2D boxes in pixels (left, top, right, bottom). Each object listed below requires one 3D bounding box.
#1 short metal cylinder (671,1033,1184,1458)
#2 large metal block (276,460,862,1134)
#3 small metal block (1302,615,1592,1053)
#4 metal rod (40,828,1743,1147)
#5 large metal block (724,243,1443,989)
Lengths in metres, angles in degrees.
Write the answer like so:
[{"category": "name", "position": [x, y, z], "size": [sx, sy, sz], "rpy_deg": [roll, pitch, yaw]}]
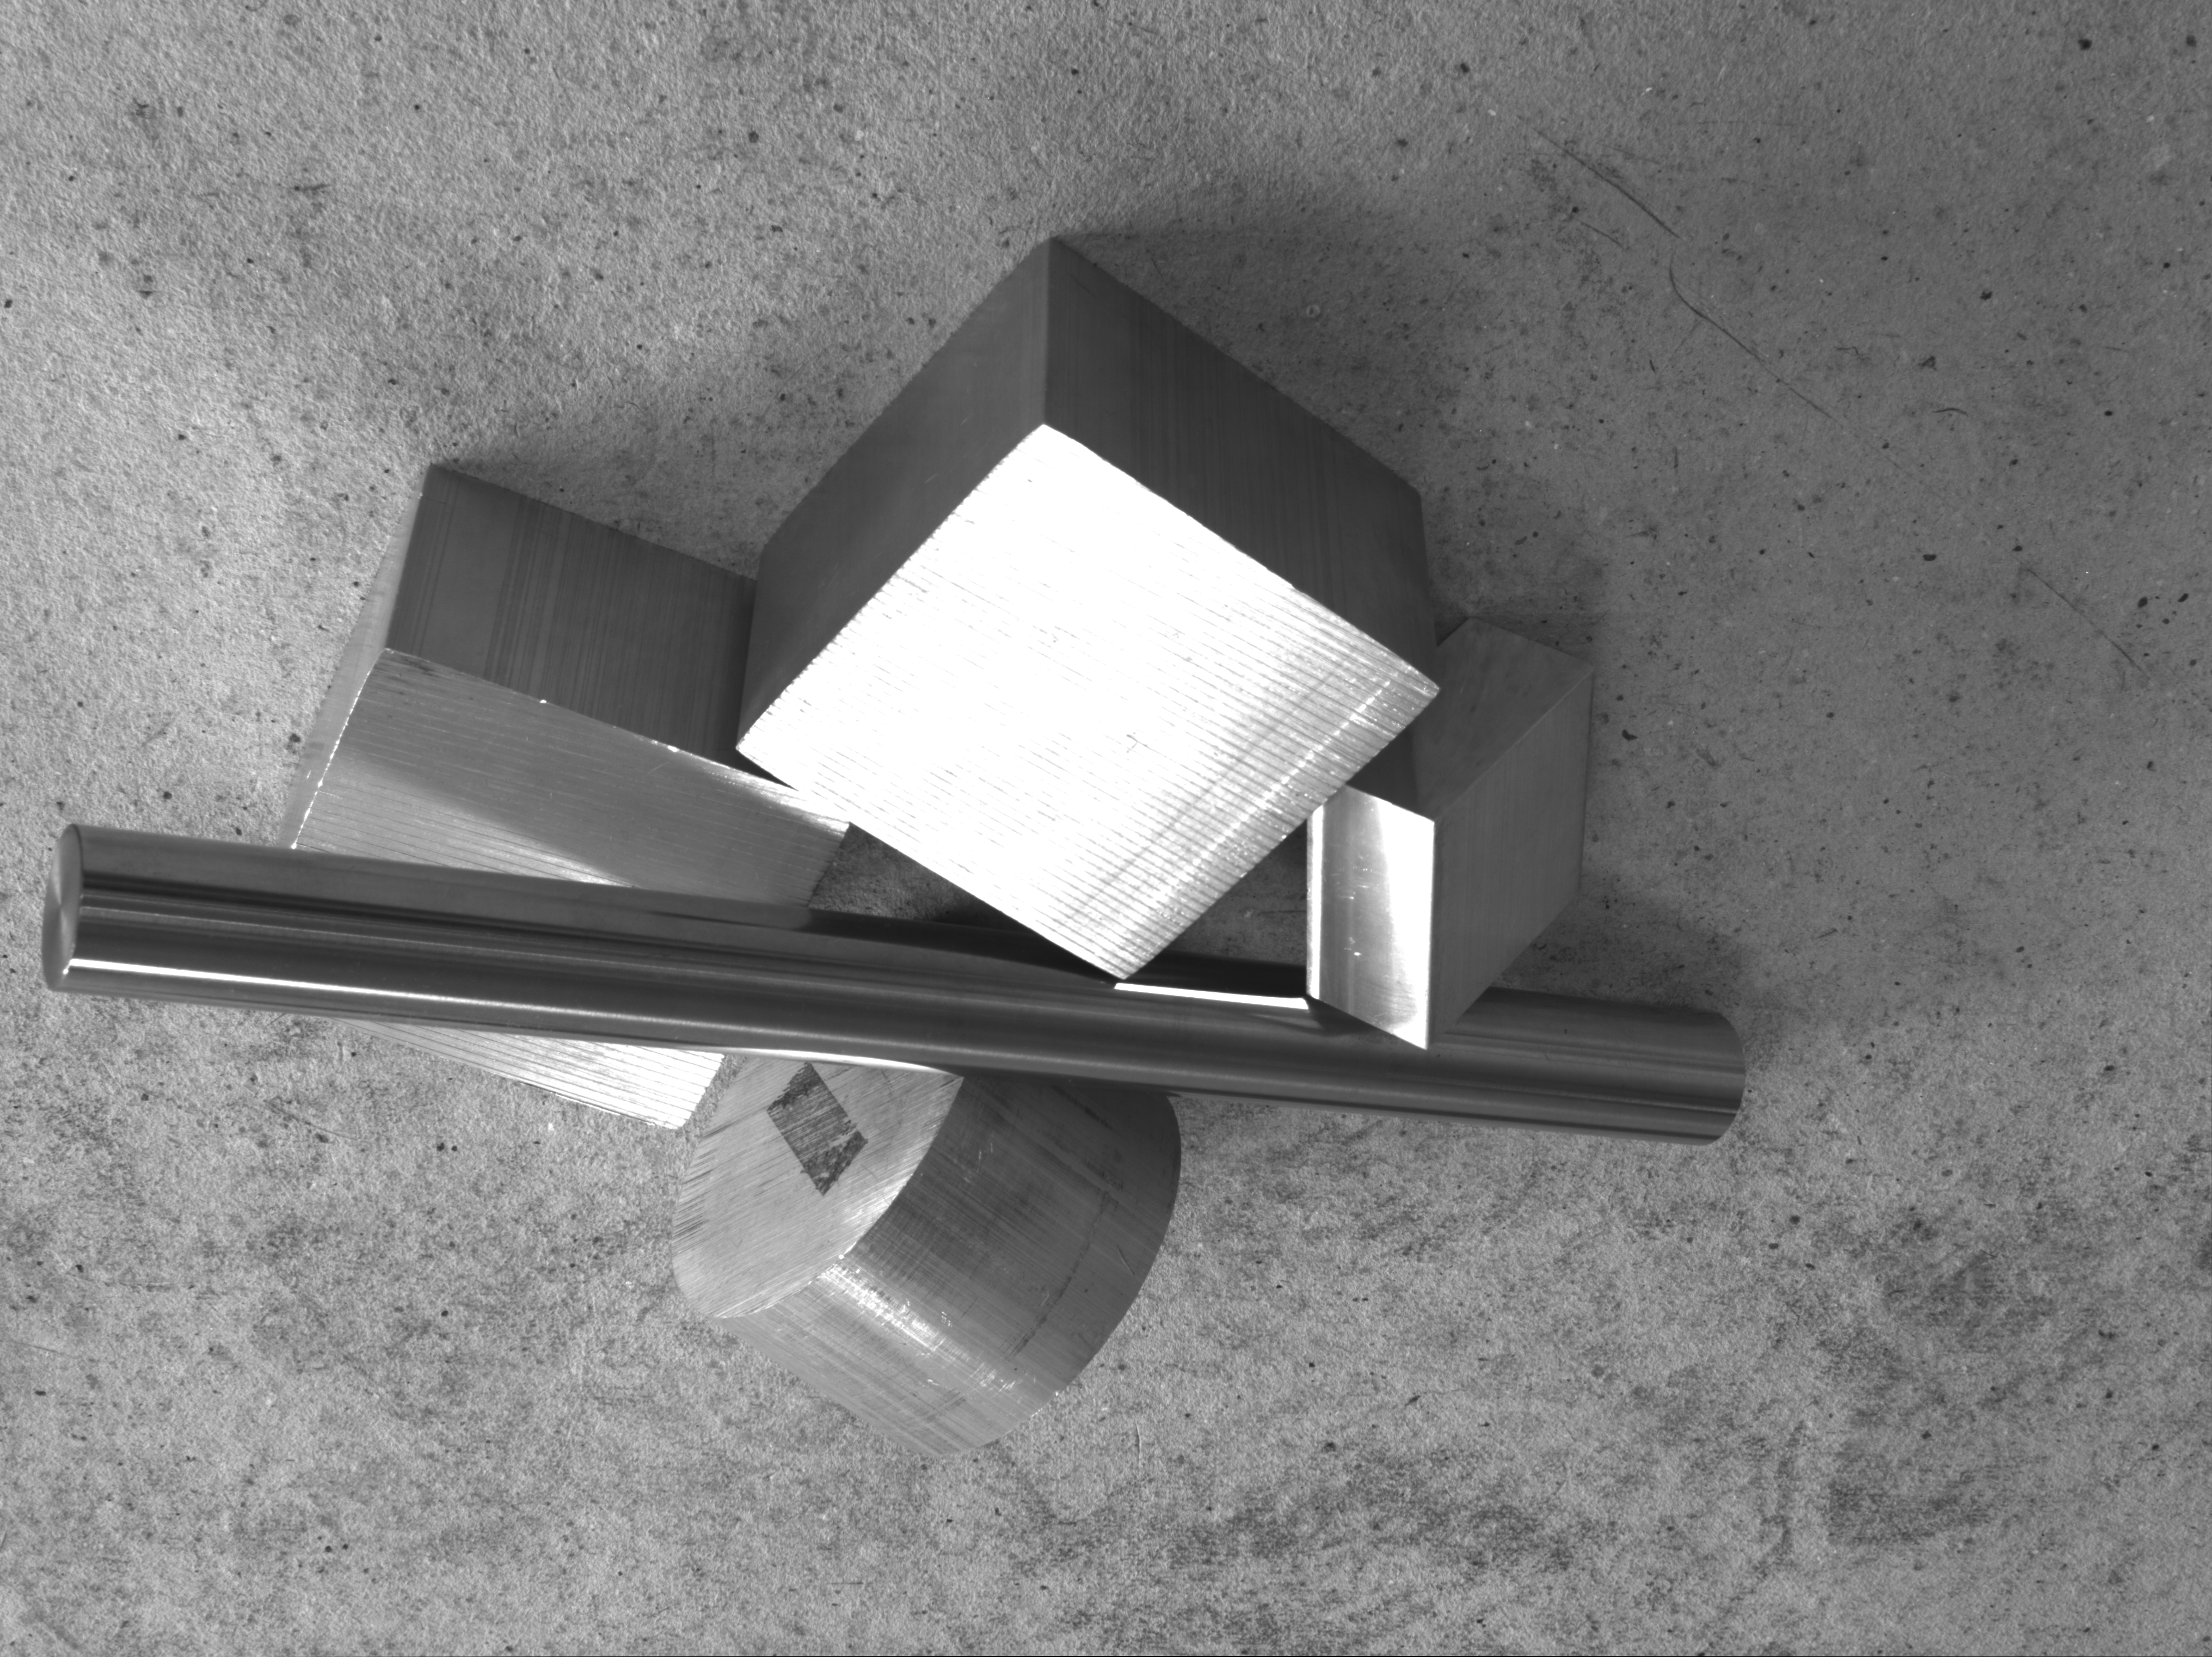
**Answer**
[{"category": "short metal cylinder", "position": [-0.032, 0.065, 0.658], "size": [0.080, 0.080, 0.050], "rpy_deg": [-37, 121, 27]}, {"category": "large metal block", "position": [-0.093, -0.004, 0.620], "size": [0.080, 0.050, 0.080], "rpy_deg": [19, 127, -16]}, {"category": "small metal block", "position": [0.058, 0.001, 0.621], "size": [0.025, 0.050, 0.050], "rpy_deg": [24, 137, 28]}, {"category": "metal rod", "position": [-0.022, 0.029, 0.611], "size": [0.301, 0.025, 0.025], "rpy_deg": [7, 132, -28]}, {"category": "large metal block", "position": [-0.004, -0.033, 0.593], "size": [0.080, 0.050, 0.080], "rpy_deg": [32, 123, -24]}]
